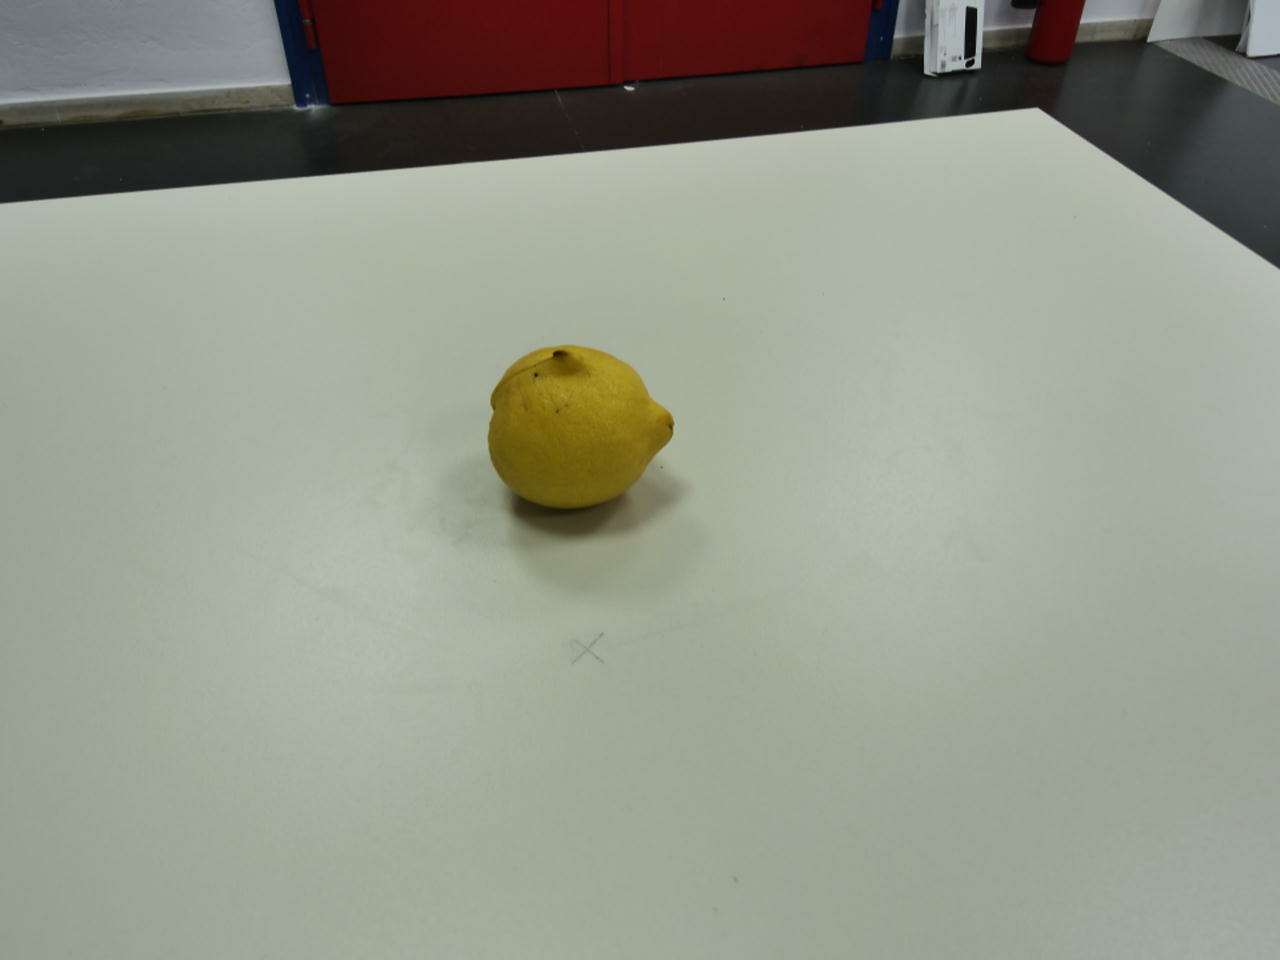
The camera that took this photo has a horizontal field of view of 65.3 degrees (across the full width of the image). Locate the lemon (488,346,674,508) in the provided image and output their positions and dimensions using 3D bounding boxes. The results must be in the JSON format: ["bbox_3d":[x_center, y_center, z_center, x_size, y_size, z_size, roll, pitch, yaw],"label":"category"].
[{"bbox_3d":[-0.029,-0.025,0.415,0.071,0.071,0.070,31,47,32],"label":"lemon"}]
